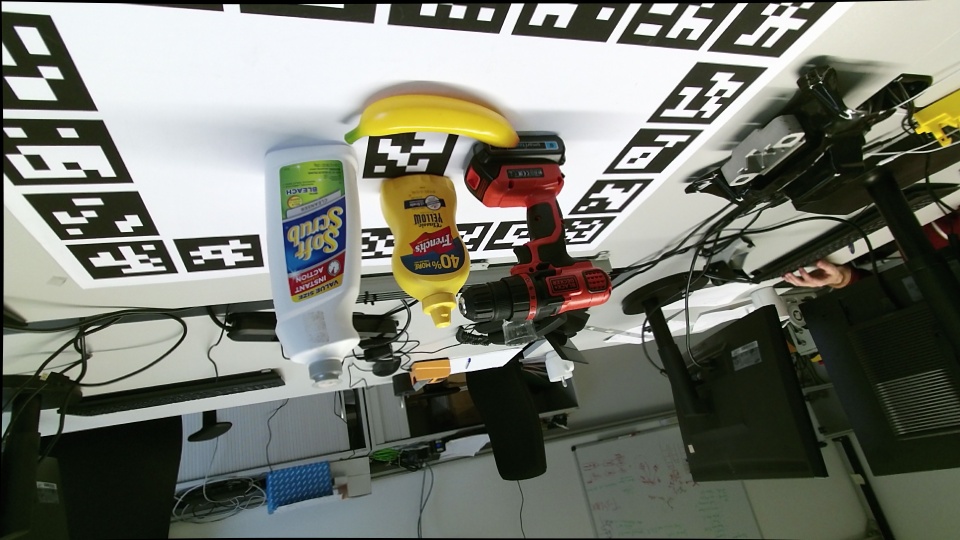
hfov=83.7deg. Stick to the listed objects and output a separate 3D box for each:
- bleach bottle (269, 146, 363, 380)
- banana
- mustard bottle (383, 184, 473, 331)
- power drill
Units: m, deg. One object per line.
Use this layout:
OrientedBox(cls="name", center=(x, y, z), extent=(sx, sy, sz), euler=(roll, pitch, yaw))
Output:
OrientedBox(cls="bleach bottle", center=(-0.163, -0.011, 0.565), extent=(0.103, 0.249, 0.068), euler=(-9, 155, -11))
OrientedBox(cls="banana", center=(-0.044, -0.144, 0.569), extent=(0.198, 0.038, 0.074), euler=(-5, 151, -22))
OrientedBox(cls="mustard bottle", center=(-0.060, -0.015, 0.665), extent=(0.096, 0.190, 0.058), euler=(-4, 155, -19))
OrientedBox(cls="power drill", center=(0.056, -0.034, 0.638), extent=(0.185, 0.186, 0.057), euler=(-4, 162, -15))
